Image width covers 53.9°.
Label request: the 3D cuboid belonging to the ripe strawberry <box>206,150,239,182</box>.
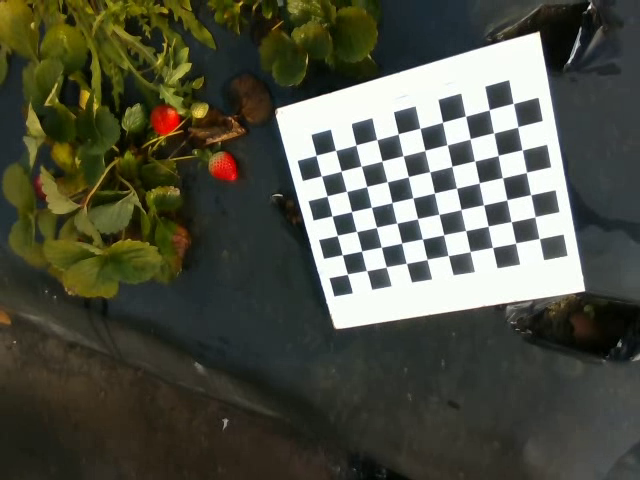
[{"bbox_3d":[-0.113,-0.084,0.722,0.043,0.035,0.029,41,22,6],"label":"ripe strawberry"}]

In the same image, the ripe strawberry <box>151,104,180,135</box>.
[{"bbox_3d":[-0.182,-0.143,0.722,0.031,0.040,0.048,-32,7,-27],"label":"ripe strawberry"}]
